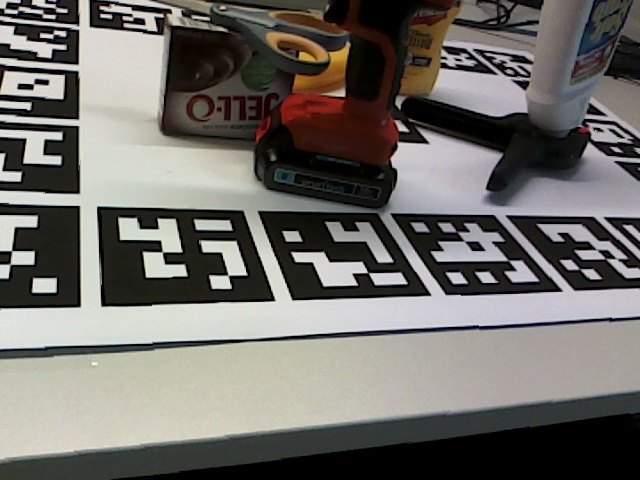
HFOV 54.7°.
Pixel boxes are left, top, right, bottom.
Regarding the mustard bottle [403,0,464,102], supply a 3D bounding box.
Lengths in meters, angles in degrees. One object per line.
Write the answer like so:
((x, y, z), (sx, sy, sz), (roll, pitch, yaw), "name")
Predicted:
((0.110, -0.258, 0.708), (0.096, 0.191, 0.058), (10, 34, -10), "mustard bottle")

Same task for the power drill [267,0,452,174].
((0.012, -0.149, 0.459), (0.184, 0.187, 0.057), (6, 28, -9), "power drill")

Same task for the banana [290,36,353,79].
((-0.009, -0.215, 0.716), (0.075, 0.039, 0.196), (14, 31, 29), "banana")

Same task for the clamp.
((0.211, -0.118, 0.650), (0.201, 0.036, 0.166), (-3, 40, -27), "clamp")

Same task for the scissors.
((-0.081, -0.195, 0.510), (0.202, 0.016, 0.088), (19, 38, -3), "scissors")

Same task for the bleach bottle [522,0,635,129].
((0.262, -0.210, 0.615), (0.102, 0.250, 0.068), (-19, 43, -30), "bleach bottle")

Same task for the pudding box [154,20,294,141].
((-0.085, -0.139, 0.544), (0.113, 0.090, 0.039), (3, 29, -18), "pudding box")
